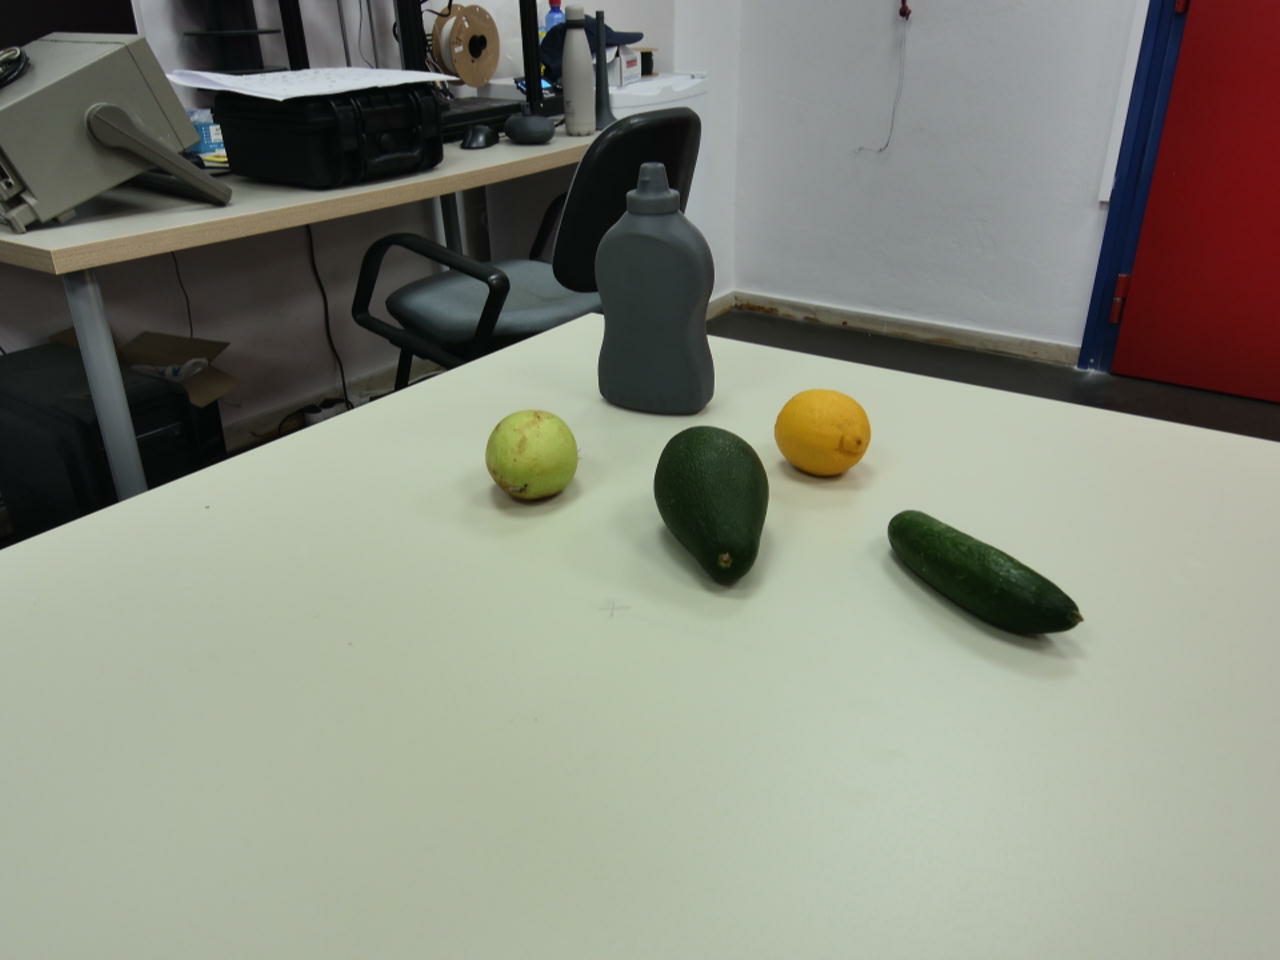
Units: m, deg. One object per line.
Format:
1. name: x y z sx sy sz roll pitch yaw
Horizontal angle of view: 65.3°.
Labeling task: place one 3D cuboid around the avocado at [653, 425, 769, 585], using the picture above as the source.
1. avocado: 0.041 0.010 0.602 0.073 0.071 0.109 7 26 12
